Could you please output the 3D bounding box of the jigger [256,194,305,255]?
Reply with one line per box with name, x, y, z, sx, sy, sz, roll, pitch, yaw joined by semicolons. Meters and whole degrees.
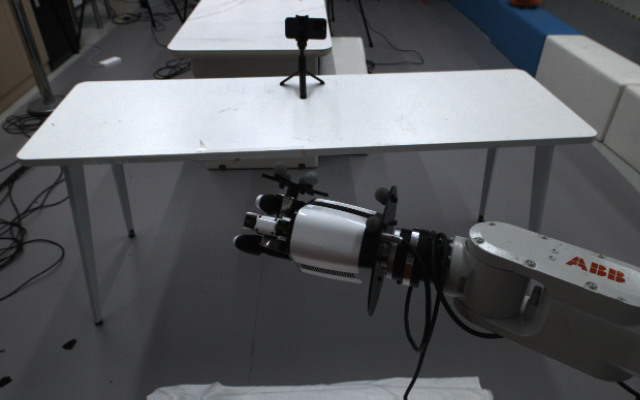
jigger;-0.046;0.029;0.611;0.043;0.071;0.043;19;-6;2
